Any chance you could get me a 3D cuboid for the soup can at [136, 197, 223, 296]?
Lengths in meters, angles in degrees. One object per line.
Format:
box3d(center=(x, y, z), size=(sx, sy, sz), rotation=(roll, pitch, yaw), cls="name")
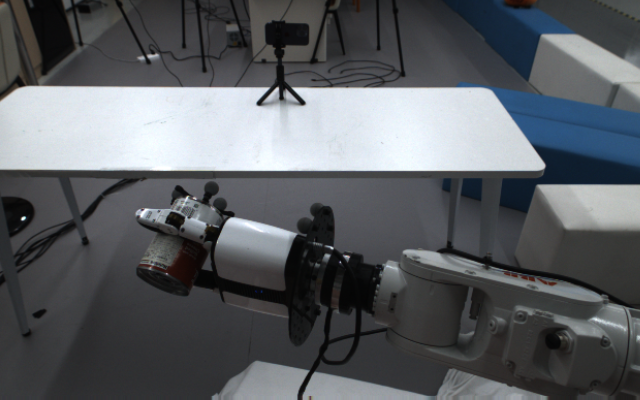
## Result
box3d(center=(-0.165, 0.054, 0.579), size=(0.067, 0.067, 0.101), rotation=(12, 59, 14), cls="soup can")
